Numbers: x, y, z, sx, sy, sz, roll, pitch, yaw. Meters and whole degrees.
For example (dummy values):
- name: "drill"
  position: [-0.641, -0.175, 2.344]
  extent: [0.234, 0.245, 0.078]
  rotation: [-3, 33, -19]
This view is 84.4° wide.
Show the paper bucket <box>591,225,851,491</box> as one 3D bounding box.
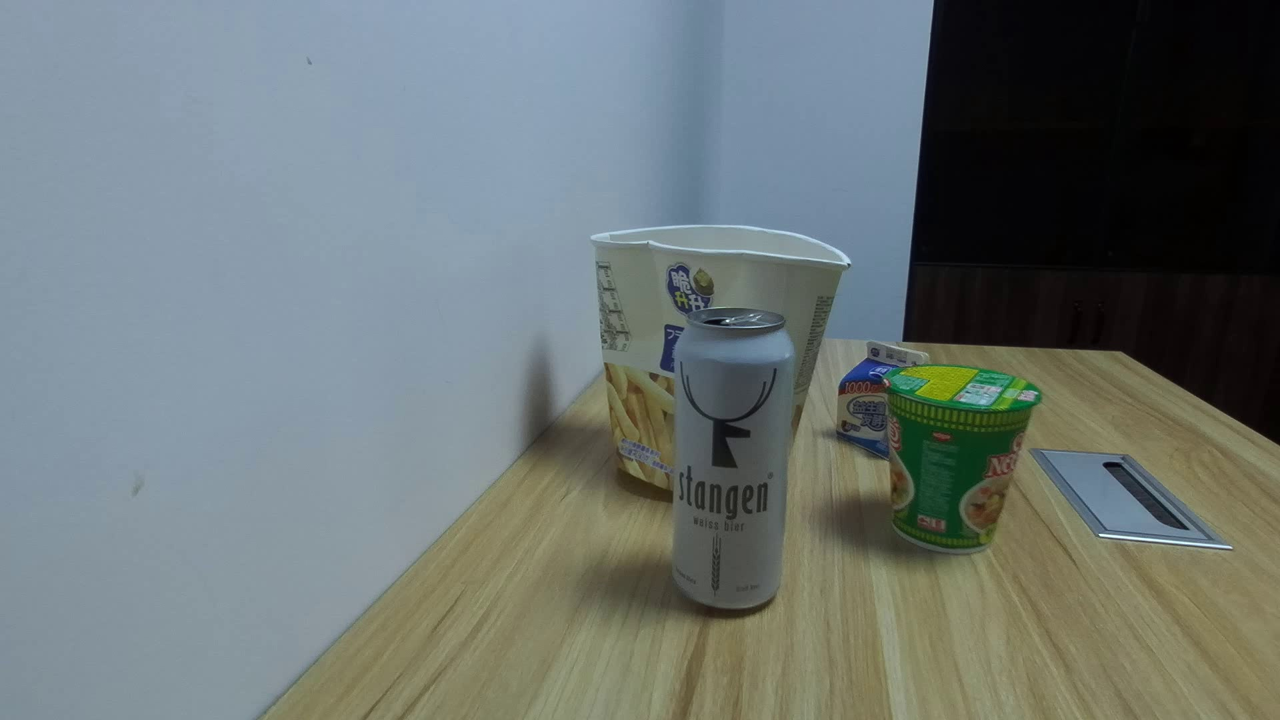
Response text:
- name: "paper bucket"
  position: [0.054, -0.005, 0.570]
  extent: [0.217, 0.199, 0.148]
  rotation: [4, 17, 16]

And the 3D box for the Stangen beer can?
- name: "Stangen beer can"
  position: [0.053, 0.058, 0.409]
  extent: [0.067, 0.171, 0.067]
  rotation: [1, 16, 0]

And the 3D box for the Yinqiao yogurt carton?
- name: "Yinqiao yogurt carton"
  position: [0.232, 0.032, 0.650]
  extent: [0.071, 0.094, 0.077]
  rotation: [-17, 22, -24]

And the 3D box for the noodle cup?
- name: "noodle cup"
  position: [0.213, 0.067, 0.485]
  extent: [0.097, 0.110, 0.097]
  rotation: [-1, 16, 1]
